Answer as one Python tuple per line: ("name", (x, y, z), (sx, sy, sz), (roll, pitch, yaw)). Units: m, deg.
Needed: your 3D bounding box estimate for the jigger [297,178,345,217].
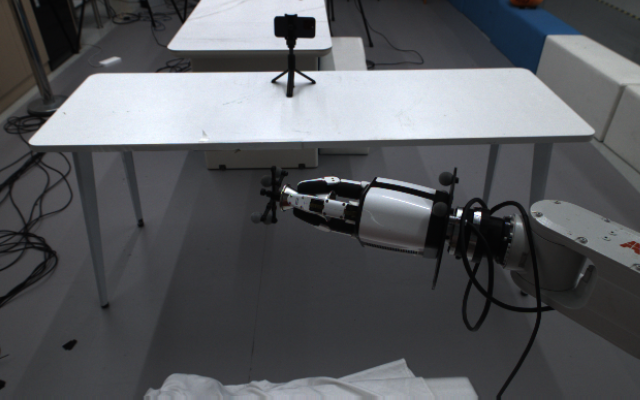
("jigger", (-0.011, 0.000, 0.665), (0.071, 0.043, 0.043), (10, 35, 16))
